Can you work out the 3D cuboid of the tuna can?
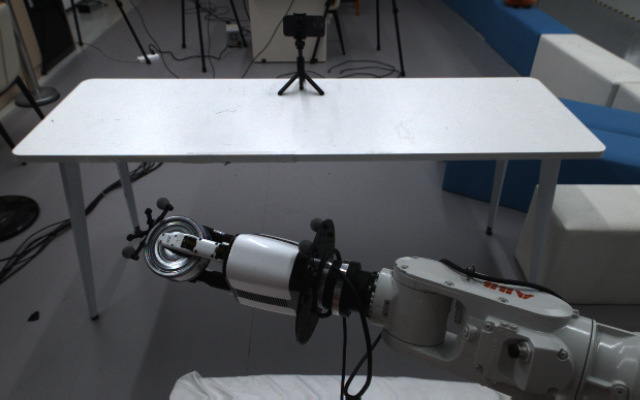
[{"bbox_3d":[-0.187,0.069,0.647,0.085,0.034,0.085,-2,73,6],"label":"tuna can"}]
